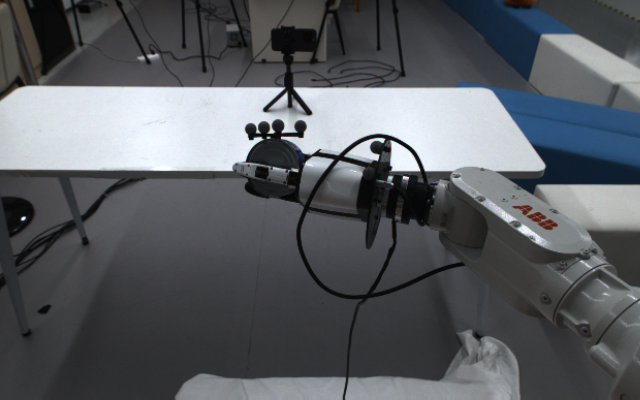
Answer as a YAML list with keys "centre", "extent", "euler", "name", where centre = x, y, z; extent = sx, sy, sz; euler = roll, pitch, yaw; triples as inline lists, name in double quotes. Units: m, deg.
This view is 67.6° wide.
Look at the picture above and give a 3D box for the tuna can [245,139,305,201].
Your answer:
- centre: [-0.064, -0.047, 0.713]
  extent: [0.085, 0.085, 0.034]
  euler: [15, 9, 18]
  name: "tuna can"
